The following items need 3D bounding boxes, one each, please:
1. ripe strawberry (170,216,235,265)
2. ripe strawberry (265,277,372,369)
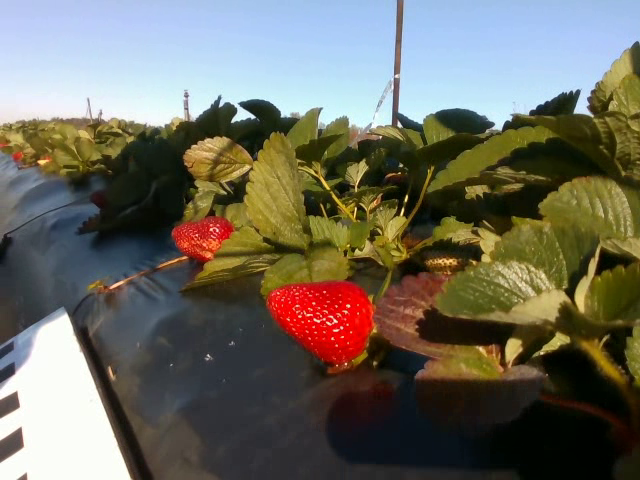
[{"bbox_3d":[-0.085,0.000,0.442,0.053,0.043,0.041,11,14,-23],"label":"ripe strawberry"},{"bbox_3d":[-0.003,0.033,0.255,0.050,0.043,0.043,20,28,-9],"label":"ripe strawberry"}]
